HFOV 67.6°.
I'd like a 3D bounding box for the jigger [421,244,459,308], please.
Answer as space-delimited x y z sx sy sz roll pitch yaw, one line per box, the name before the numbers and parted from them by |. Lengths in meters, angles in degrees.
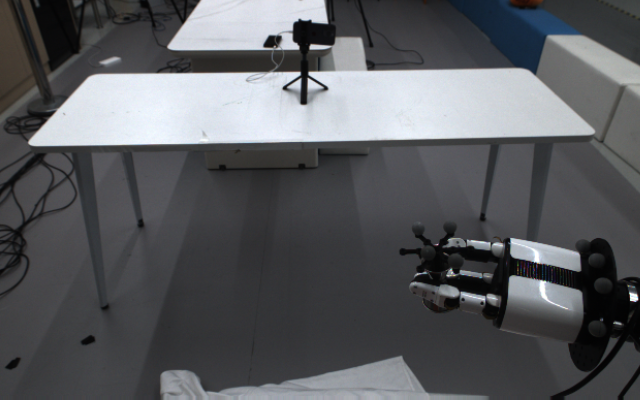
jigger | 0.153 0.102 0.626 0.043 0.071 0.043 -9 31 5
